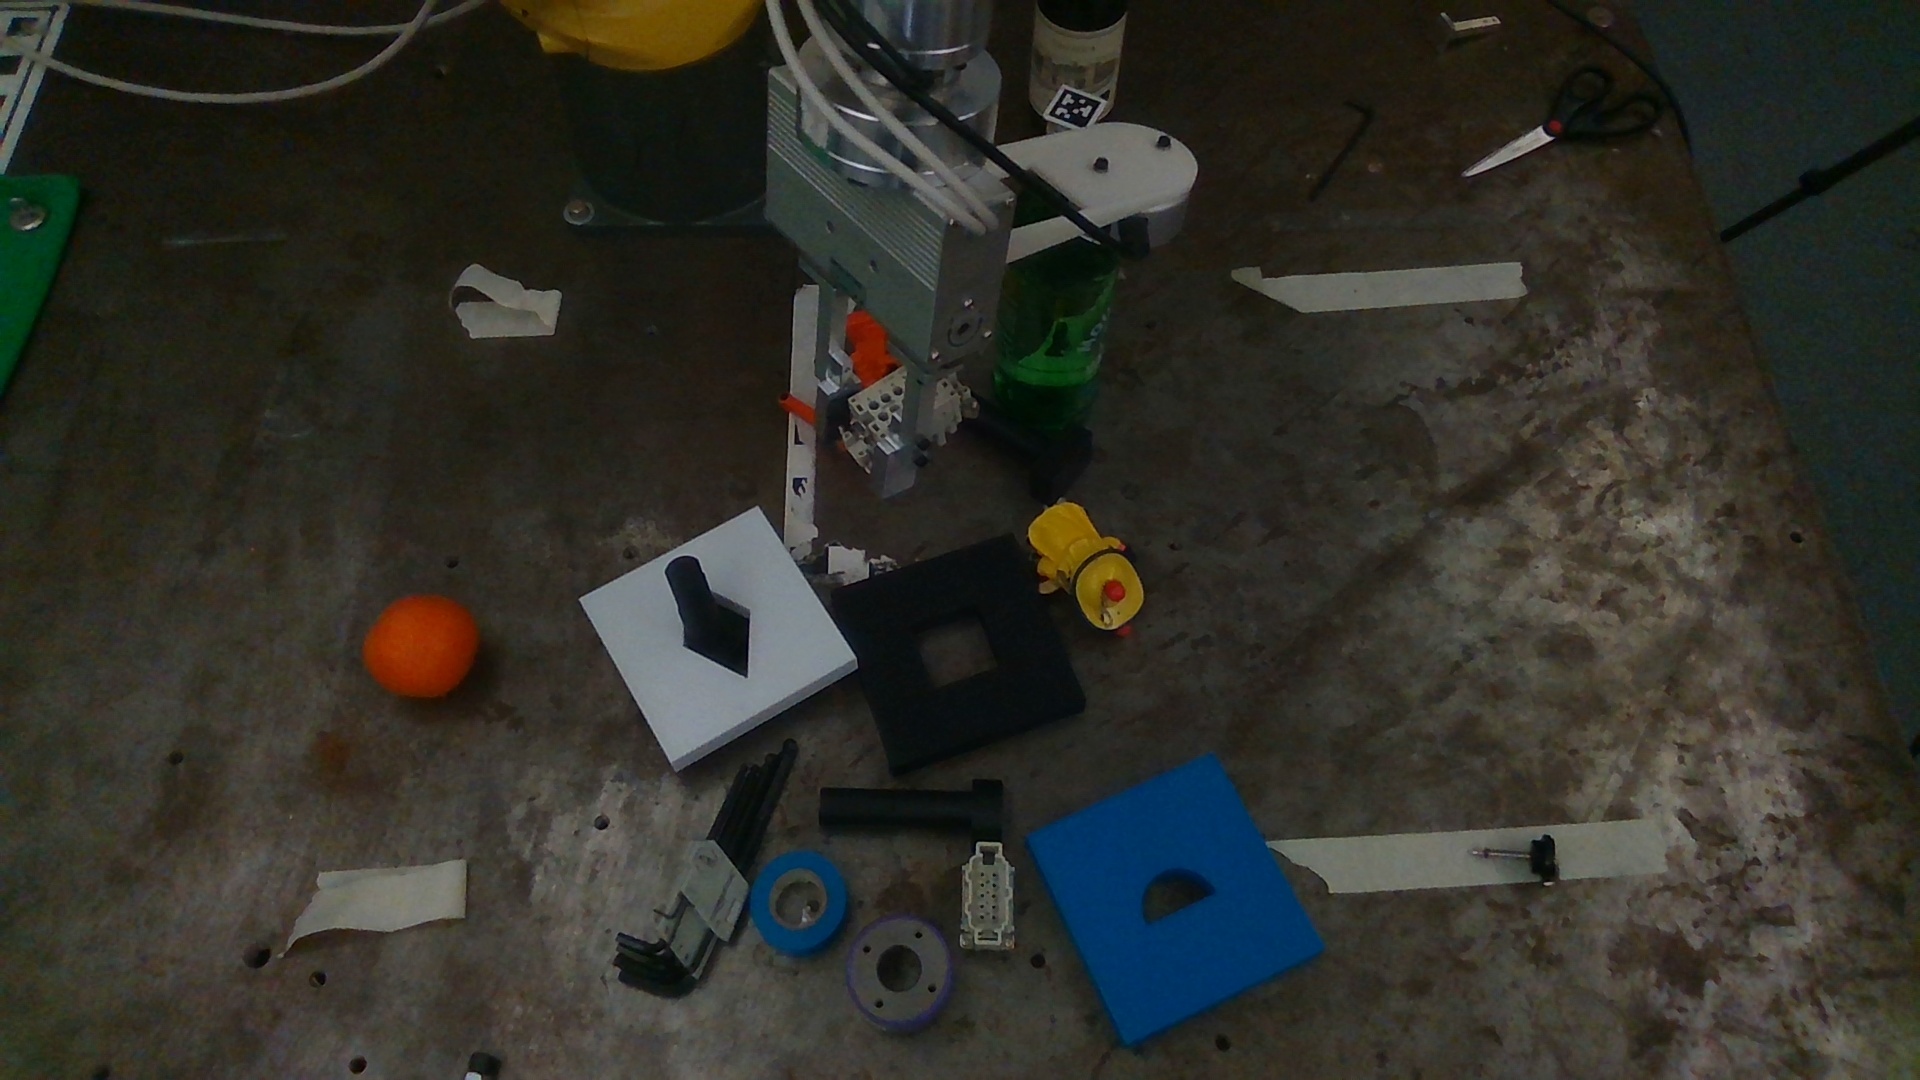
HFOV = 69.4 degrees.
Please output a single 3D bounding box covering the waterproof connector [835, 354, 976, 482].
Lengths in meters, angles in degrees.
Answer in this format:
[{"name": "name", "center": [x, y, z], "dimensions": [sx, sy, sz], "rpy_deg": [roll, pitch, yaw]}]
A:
[{"name": "waterproof connector", "center": [-0.029, -0.062, 0.701], "dimensions": [0.069, 0.038, 0.037], "rpy_deg": [-36, 61, -15]}]
